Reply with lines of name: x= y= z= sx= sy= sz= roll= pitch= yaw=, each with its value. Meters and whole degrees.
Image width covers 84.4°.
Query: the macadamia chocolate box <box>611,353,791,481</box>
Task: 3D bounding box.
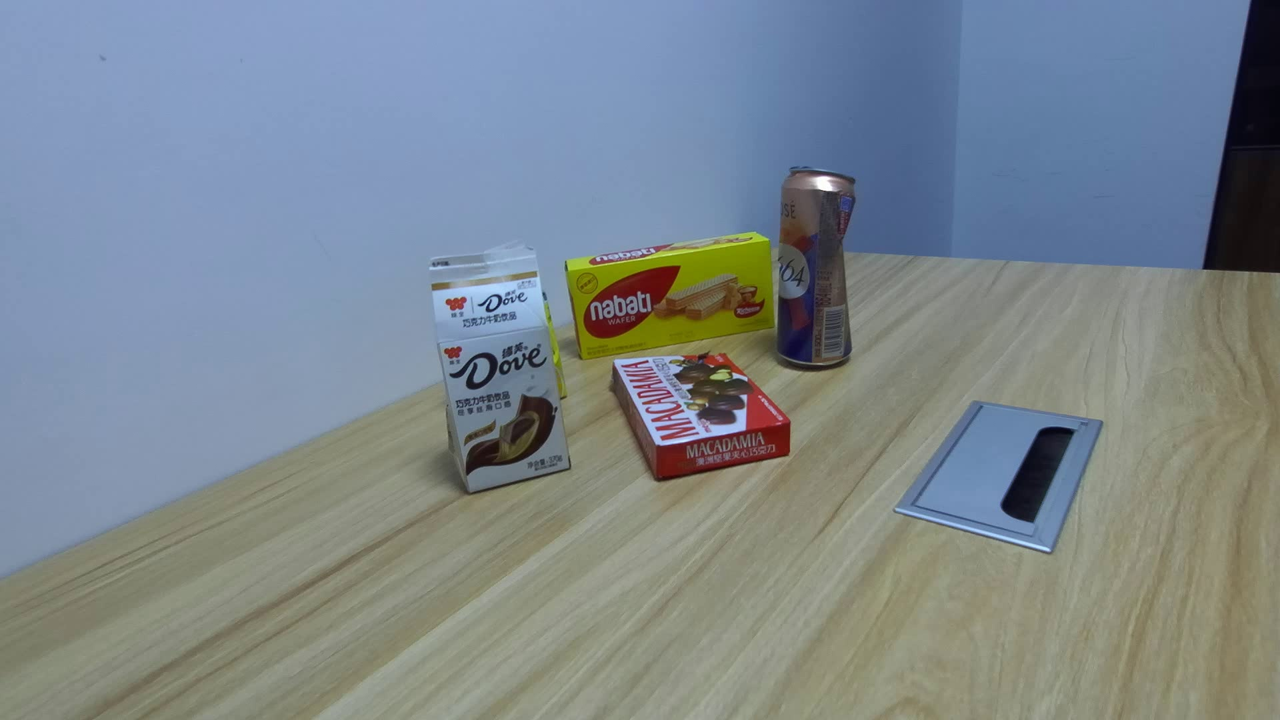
macadamia chocolate box: x=0.040 y=0.031 z=0.551 sx=0.103 sy=0.027 sz=0.186 roll=-9 pitch=21 yaw=-10

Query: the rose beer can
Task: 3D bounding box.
rose beer can: x=0.149 y=-0.077 z=0.602 sx=0.069 sy=0.168 sz=0.070 roll=9 pitch=19 yaw=33

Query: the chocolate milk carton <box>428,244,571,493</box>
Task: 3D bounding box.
chocolate milk carton: x=-0.101 y=0.002 z=0.490 sx=0.084 sy=0.155 sz=0.073 roll=-12 pitch=21 yaw=-11

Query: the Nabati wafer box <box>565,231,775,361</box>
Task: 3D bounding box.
Nabati wafer box: x=0.033 y=-0.064 z=0.705 sx=0.203 sy=0.093 sz=0.042 roll=-9 pitch=17 yaw=-7
